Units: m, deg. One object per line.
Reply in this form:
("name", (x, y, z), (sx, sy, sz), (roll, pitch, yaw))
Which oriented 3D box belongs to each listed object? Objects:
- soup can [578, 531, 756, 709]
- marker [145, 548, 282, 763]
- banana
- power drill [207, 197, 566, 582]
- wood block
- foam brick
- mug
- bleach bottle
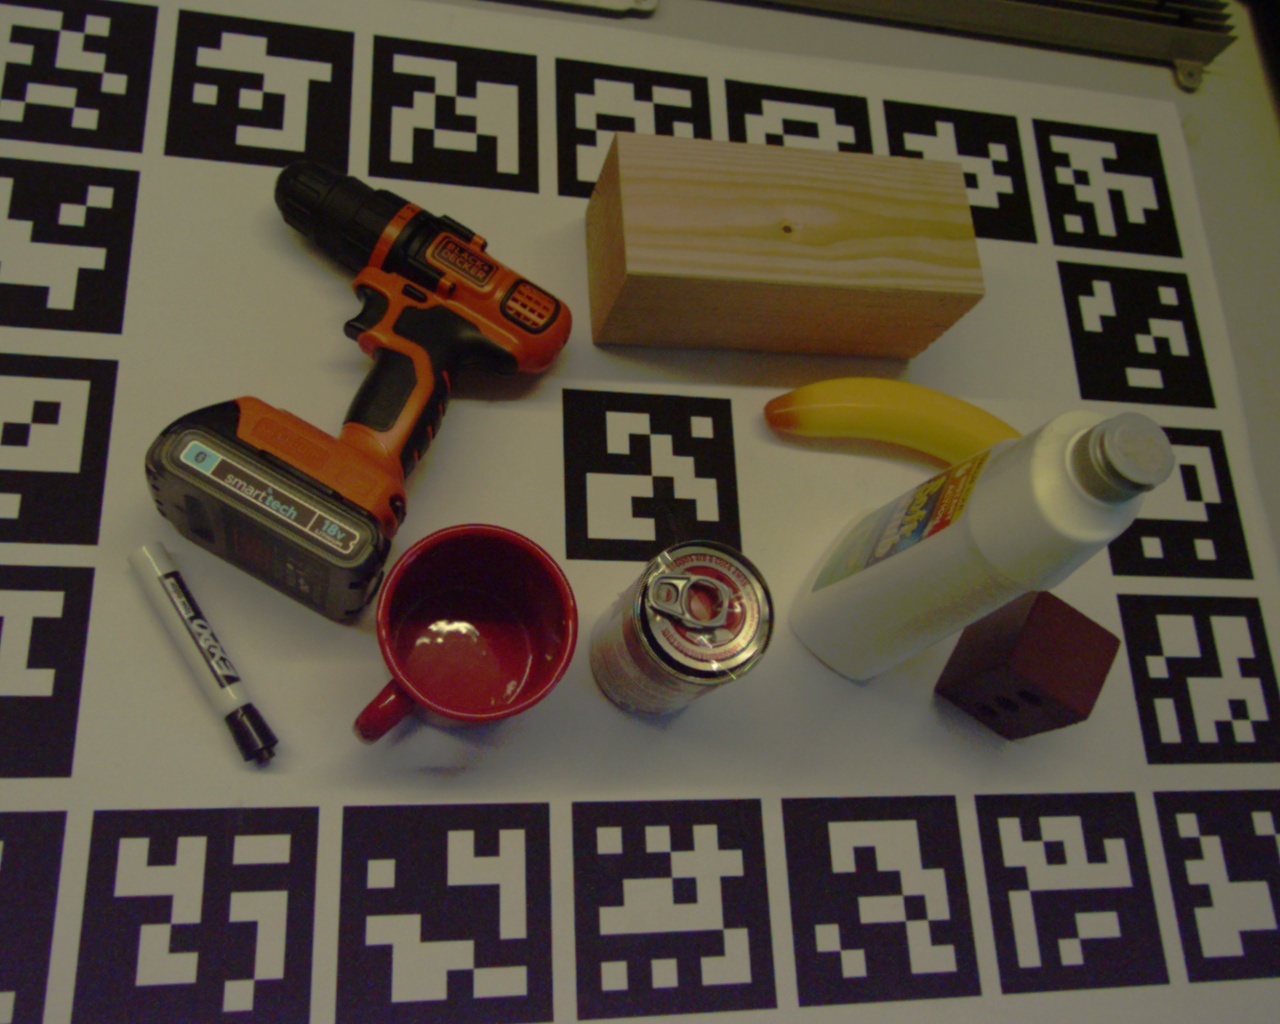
("soup can", (0.011, 0.060, 0.593), (0.067, 0.102, 0.068), (6, 66, -14))
("marker", (-0.218, 0.074, 0.585), (0.019, 0.020, 0.121), (-28, 81, -19))
("banana", (0.150, -0.051, 0.704), (0.196, 0.039, 0.074), (18, 82, -10))
("power drill", (-0.155, -0.070, 0.634), (0.184, 0.058, 0.186), (30, 65, -6))
("wood block", (0.073, -0.145, 0.695), (0.205, 0.091, 0.090), (1, 72, -14))
("foam brick", (0.203, 0.088, 0.652), (0.053, 0.078, 0.051), (34, 64, 1))
("mug", (-0.098, 0.065, 0.581), (0.093, 0.082, 0.116), (43, 70, 1))
("bleach bottle", (0.147, 0.013, 0.568), (0.068, 0.252, 0.102), (30, 66, -3))
